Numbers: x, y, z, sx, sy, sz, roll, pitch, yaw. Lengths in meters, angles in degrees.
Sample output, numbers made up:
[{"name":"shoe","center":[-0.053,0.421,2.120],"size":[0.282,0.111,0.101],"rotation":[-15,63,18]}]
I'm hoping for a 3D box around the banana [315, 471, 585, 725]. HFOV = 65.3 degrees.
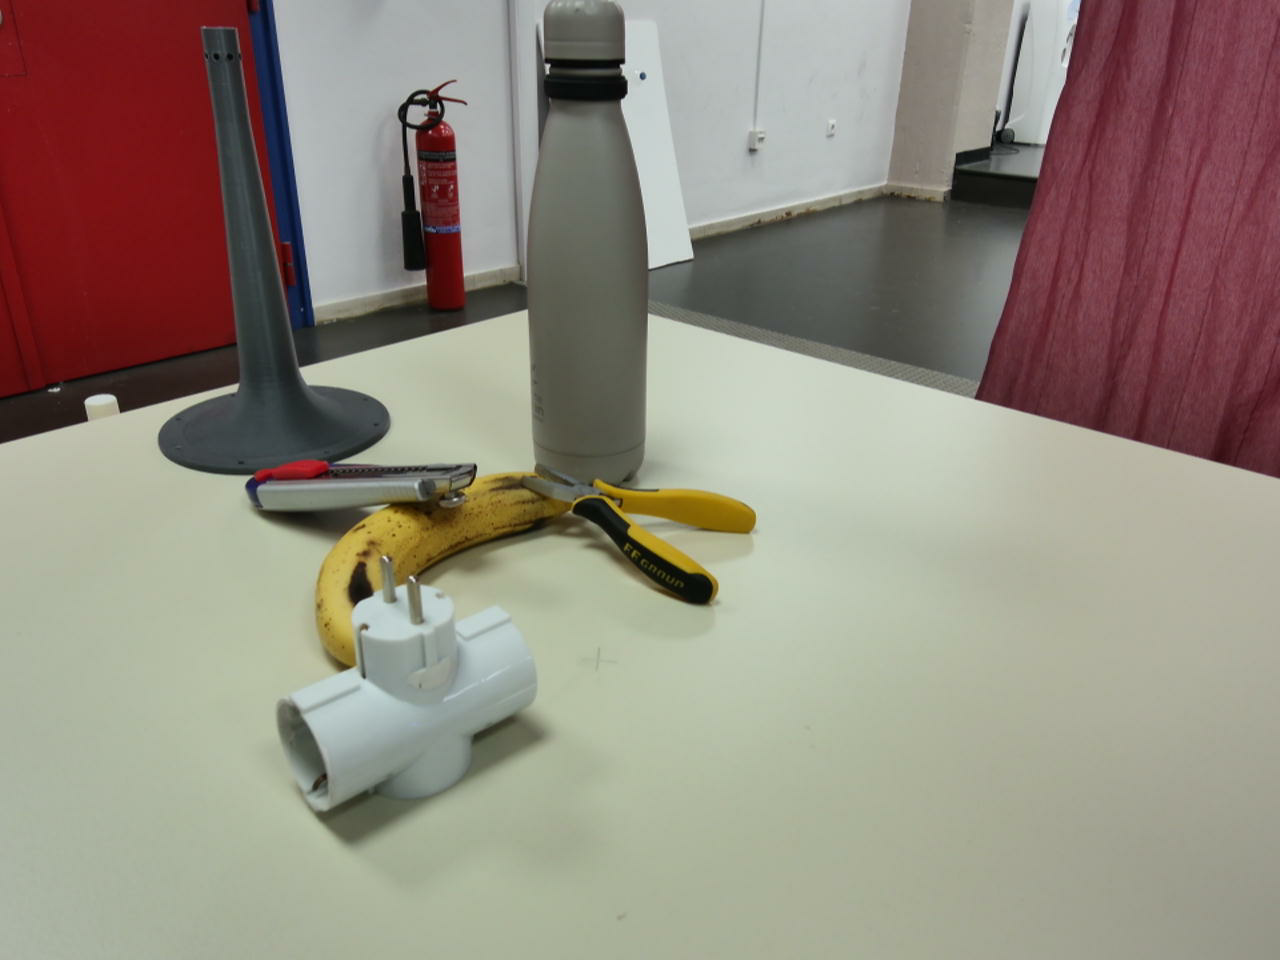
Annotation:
[{"name":"banana","center":[-0.099,0.039,0.499],"size":[0.097,0.038,0.186],"rotation":[7,25,12]}]
